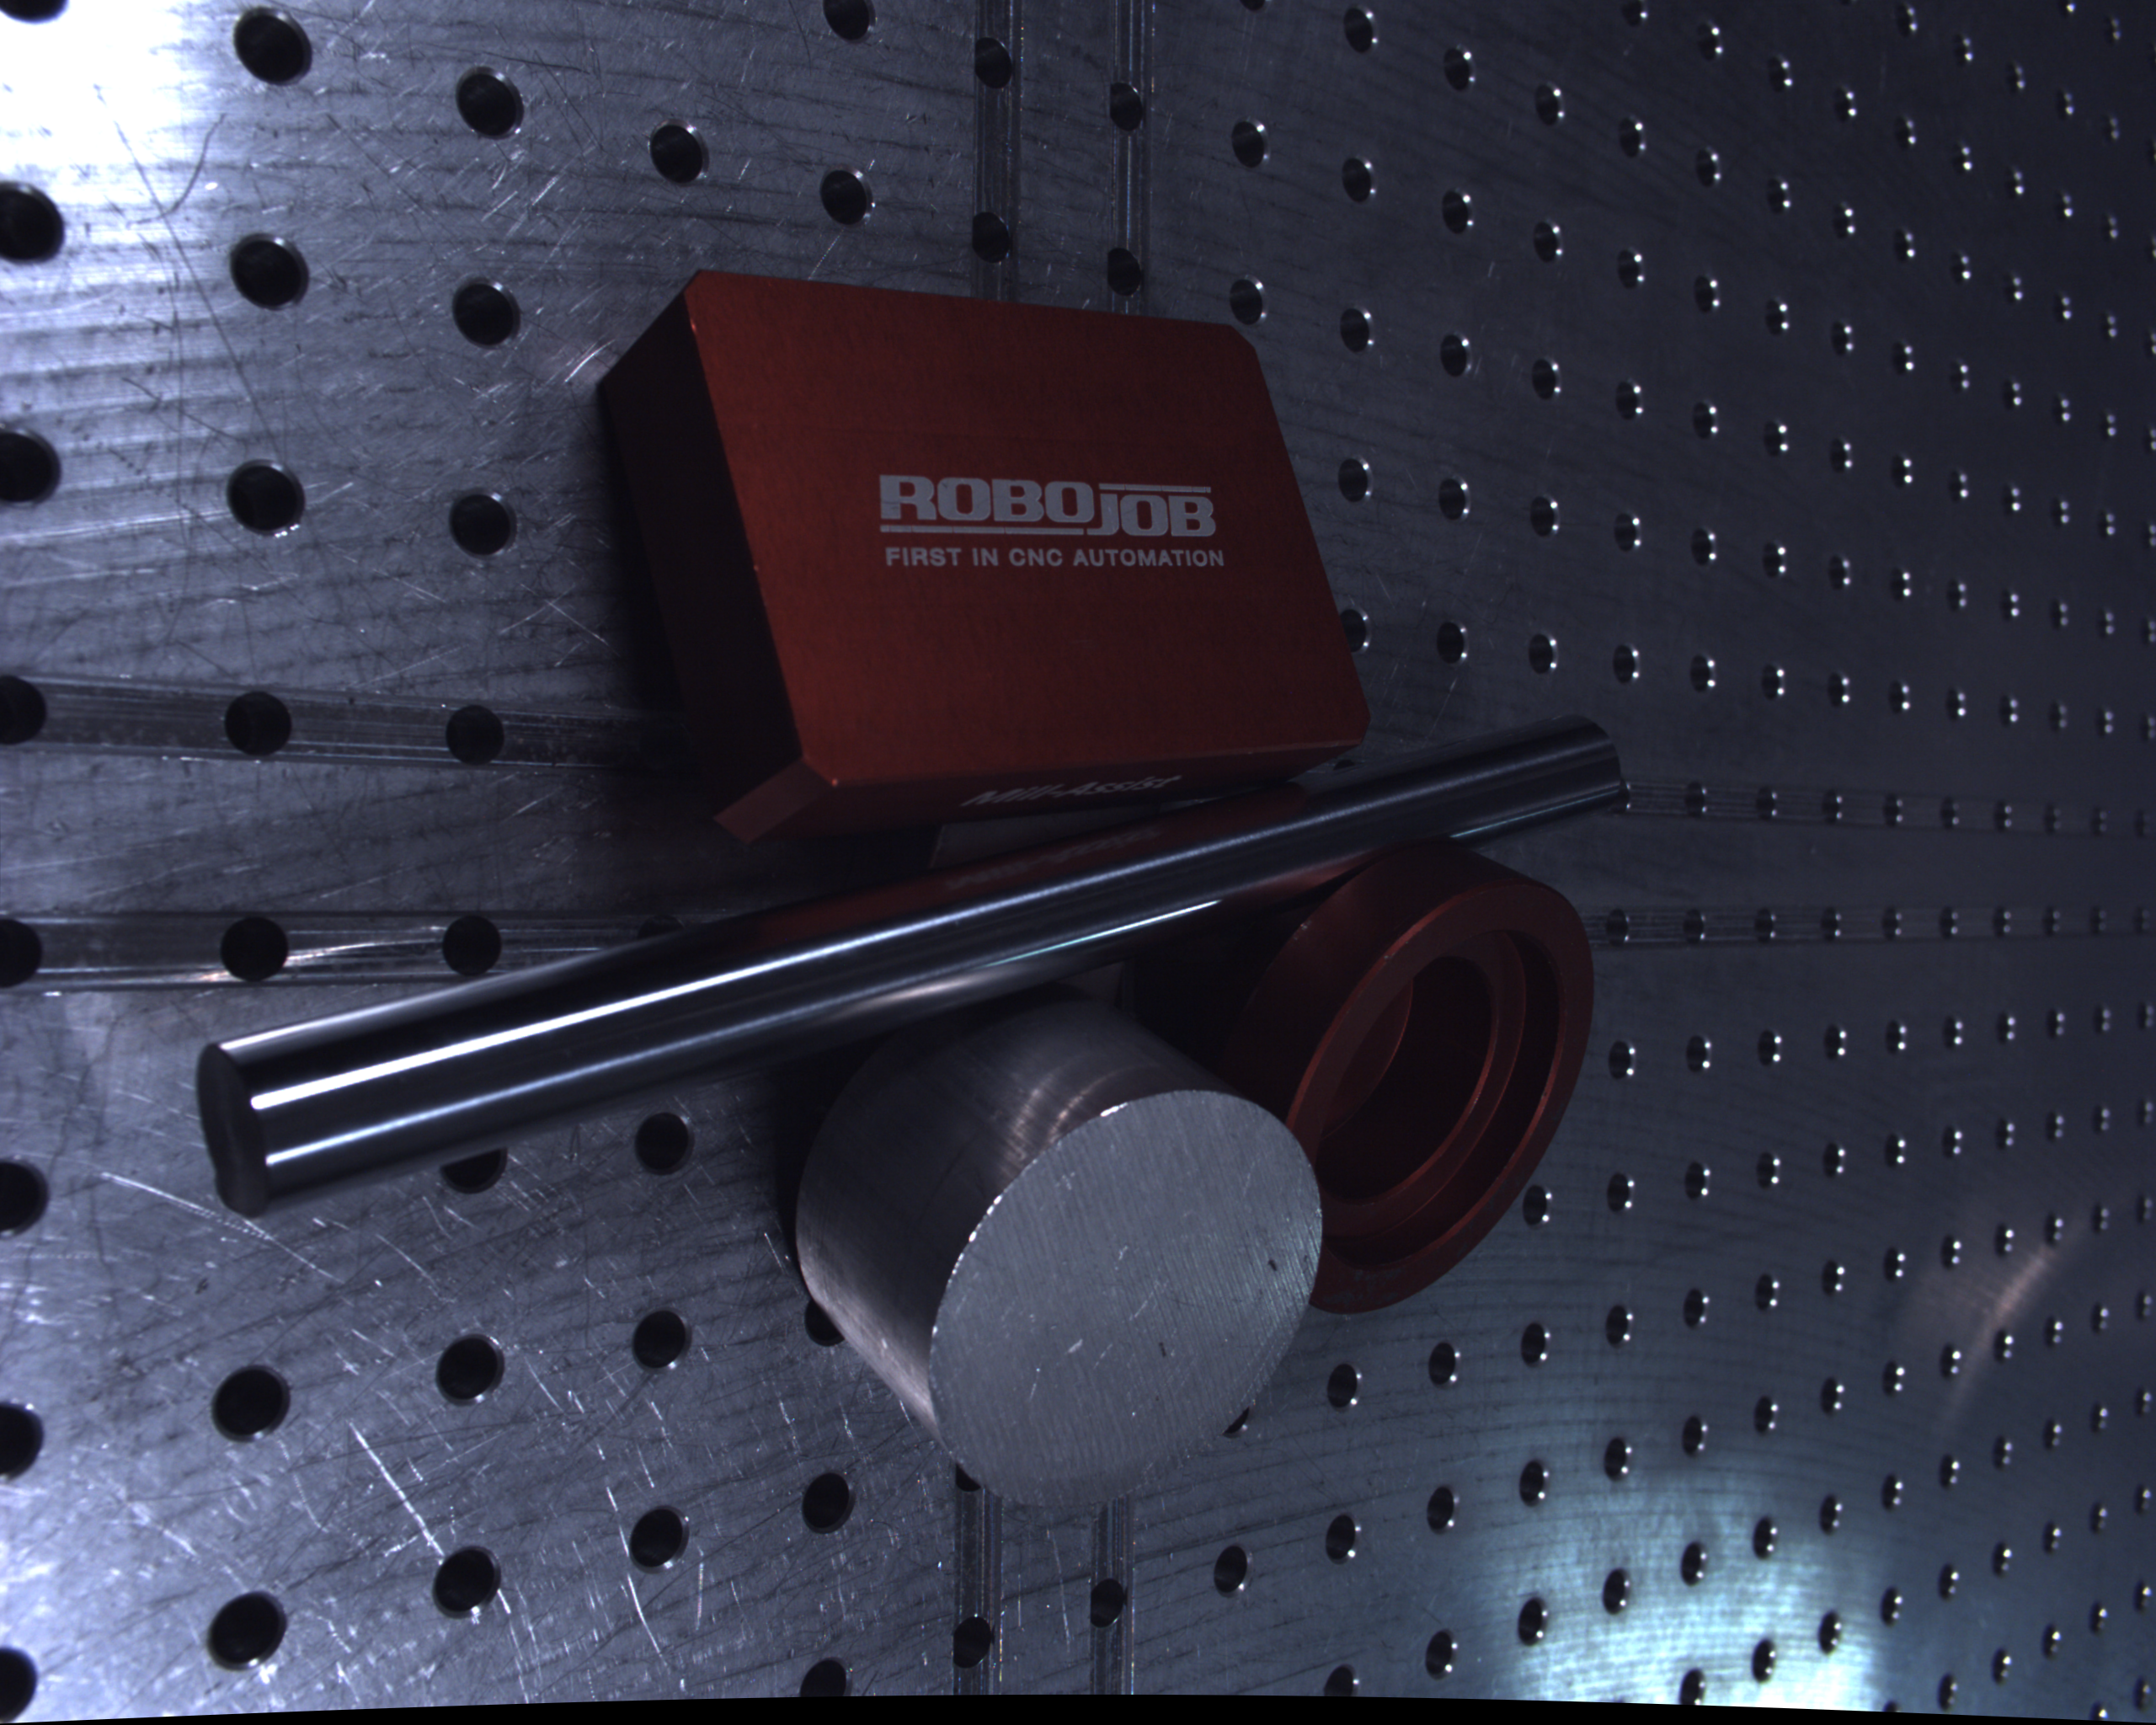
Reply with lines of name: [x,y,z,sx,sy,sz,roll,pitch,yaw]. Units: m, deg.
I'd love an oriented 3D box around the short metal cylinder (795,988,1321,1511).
short metal cylinder: [-0.003,0.068,0.377,0.081,0.050,0.079,-14,116,-30]

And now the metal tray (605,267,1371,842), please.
metal tray: [-0.012,-0.055,0.379,0.131,0.030,0.090,-7,76,-41]

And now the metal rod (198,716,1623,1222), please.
metal rod: [0.000,0.008,0.377,0.302,0.025,0.025,-14,99,-39]

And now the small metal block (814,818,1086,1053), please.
small metal block: [-0.025,0.015,0.401,0.050,0.025,0.050,23,76,-38]

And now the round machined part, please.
round machined part: [0.062,0.041,0.437,0.099,0.042,0.097,-23,127,-34]
